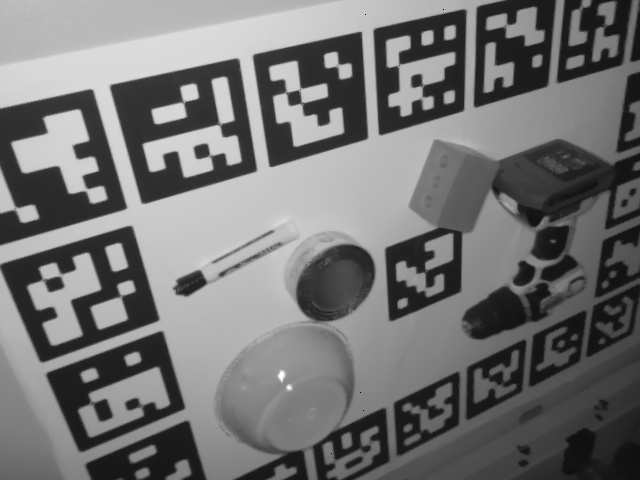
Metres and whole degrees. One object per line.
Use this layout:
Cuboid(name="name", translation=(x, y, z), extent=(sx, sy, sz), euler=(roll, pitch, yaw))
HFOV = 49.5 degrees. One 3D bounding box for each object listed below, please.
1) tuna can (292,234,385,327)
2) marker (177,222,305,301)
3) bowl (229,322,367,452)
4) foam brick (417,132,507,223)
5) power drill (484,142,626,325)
Cuboid(name="tuna can", translation=(0.017, 0.038, 0.666), extent=(0.087, 0.033, 0.085), euler=(-12, 119, -20))
Cuboid(name="marker", translation=(-0.070, 0.020, 0.618), extent=(0.122, 0.019, 0.019), euler=(-29, 123, -13))
Cuboid(name="bowl", translation=(-0.008, 0.164, 0.715), extent=(0.164, 0.055, 0.160), euler=(-18, 128, -24))
Cuboid(name="foam brick", translation=(0.139, -0.061, 0.680), extent=(0.052, 0.052, 0.077), euler=(4, 111, -28))
Cuboid(name="power drill", translation=(0.262, -0.003, 0.769), extent=(0.186, 0.057, 0.186), euler=(-20, 124, -14))
